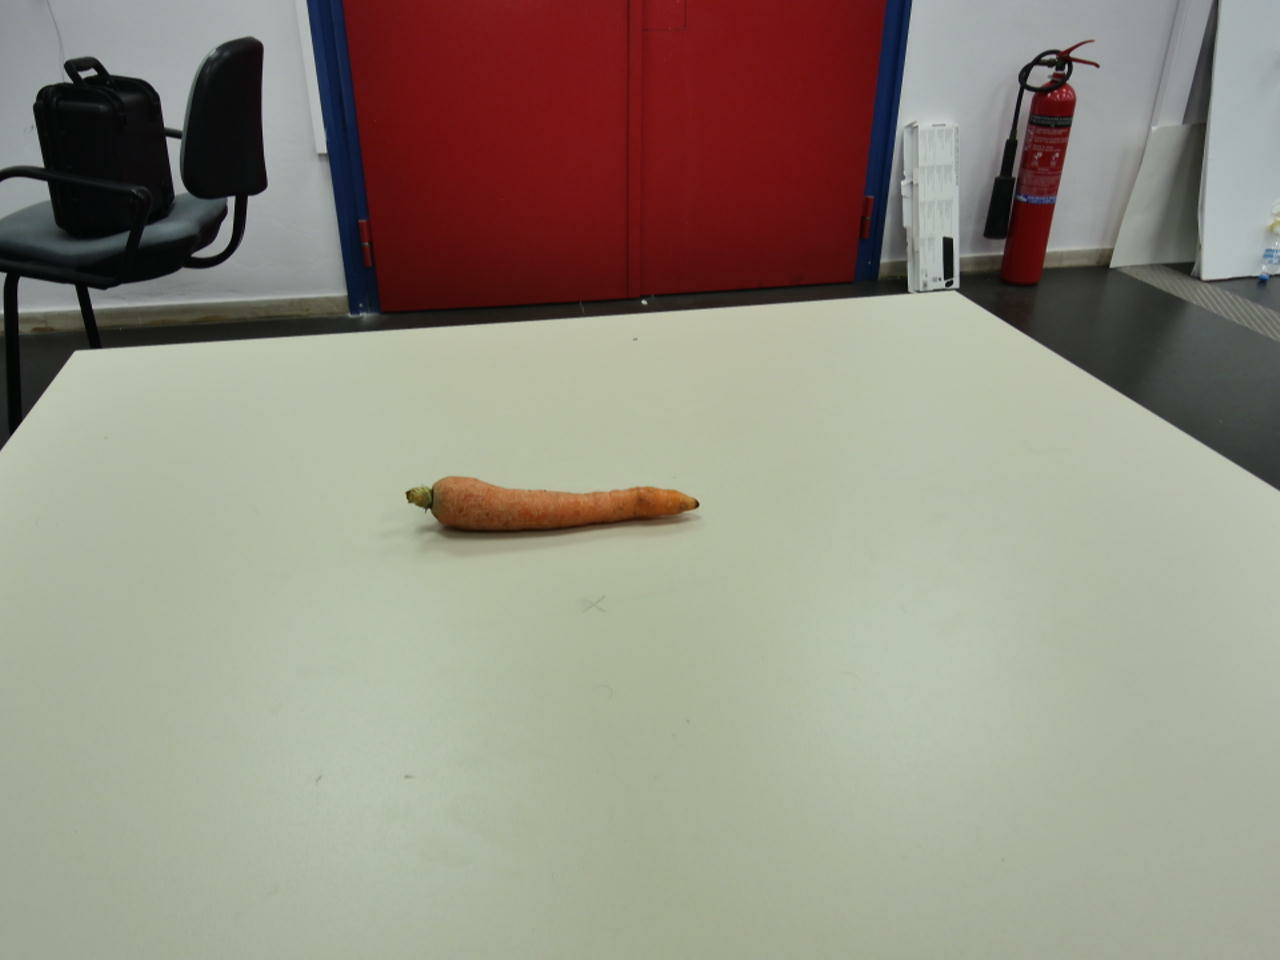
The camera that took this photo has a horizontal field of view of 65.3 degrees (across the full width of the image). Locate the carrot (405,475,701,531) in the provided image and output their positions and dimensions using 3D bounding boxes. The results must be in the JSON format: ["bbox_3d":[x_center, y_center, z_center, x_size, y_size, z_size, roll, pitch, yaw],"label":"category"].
[{"bbox_3d":[-0.048,0.012,0.582,0.173,0.032,0.030,-1,27,-3],"label":"carrot"}]
